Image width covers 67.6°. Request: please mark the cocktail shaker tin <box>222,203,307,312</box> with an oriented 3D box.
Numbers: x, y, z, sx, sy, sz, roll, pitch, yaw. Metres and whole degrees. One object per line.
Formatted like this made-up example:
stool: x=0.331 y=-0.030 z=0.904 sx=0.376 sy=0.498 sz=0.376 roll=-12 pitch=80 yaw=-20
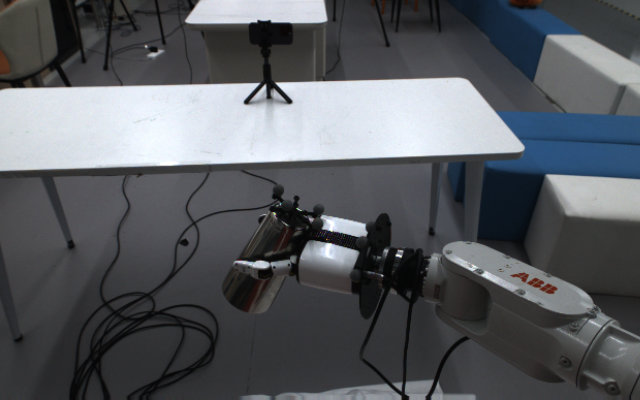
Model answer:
cocktail shaker tin: x=-0.081 y=0.085 z=0.769 sx=0.093 sy=0.170 sz=0.093 roll=25 pitch=29 yaw=-15
